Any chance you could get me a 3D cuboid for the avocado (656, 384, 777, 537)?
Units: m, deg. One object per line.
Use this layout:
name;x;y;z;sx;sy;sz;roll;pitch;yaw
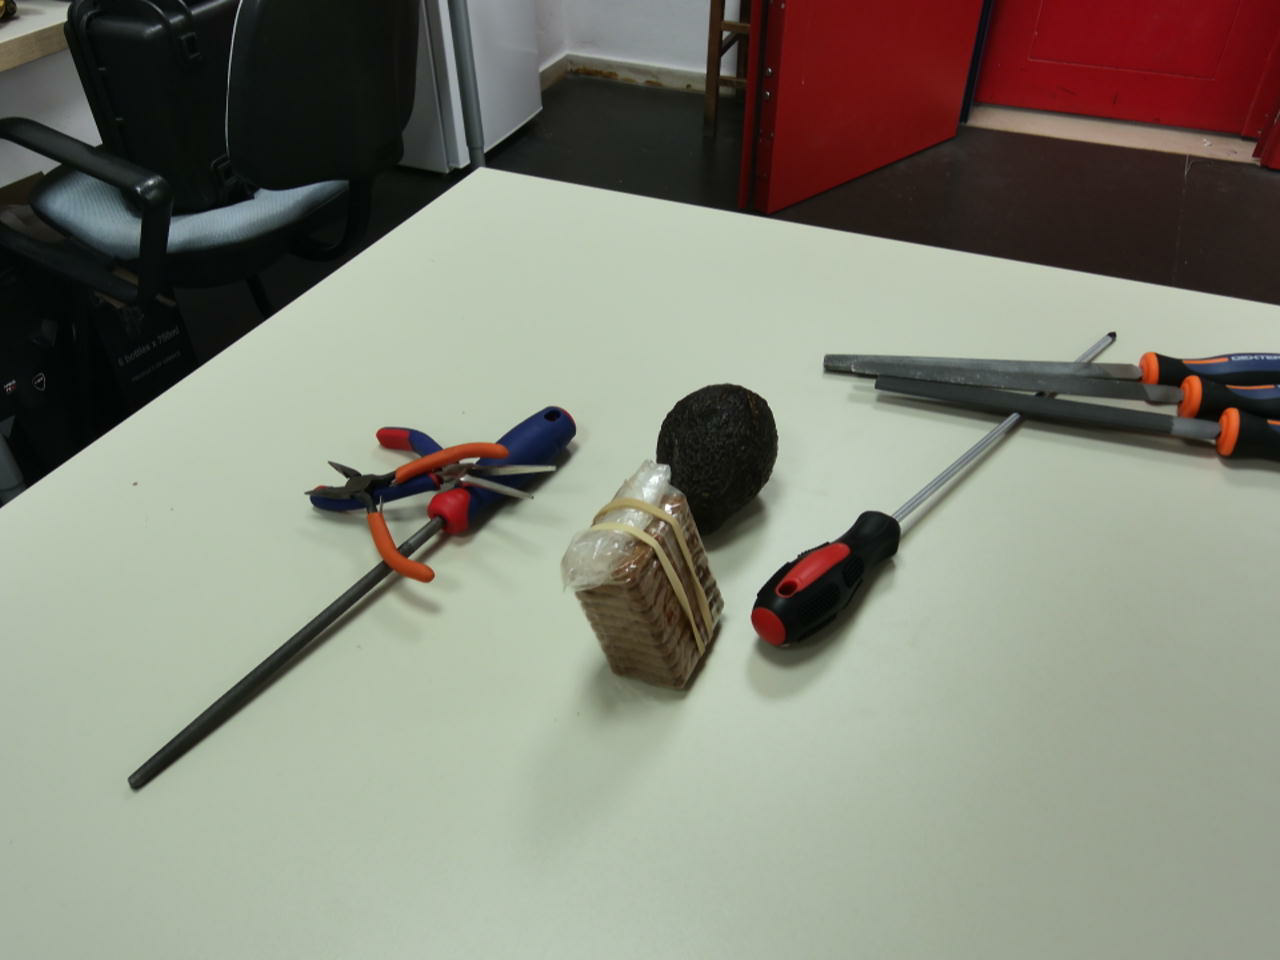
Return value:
avocado;0.041;-0.016;0.581;0.090;0.069;0.070;-28;46;-30
